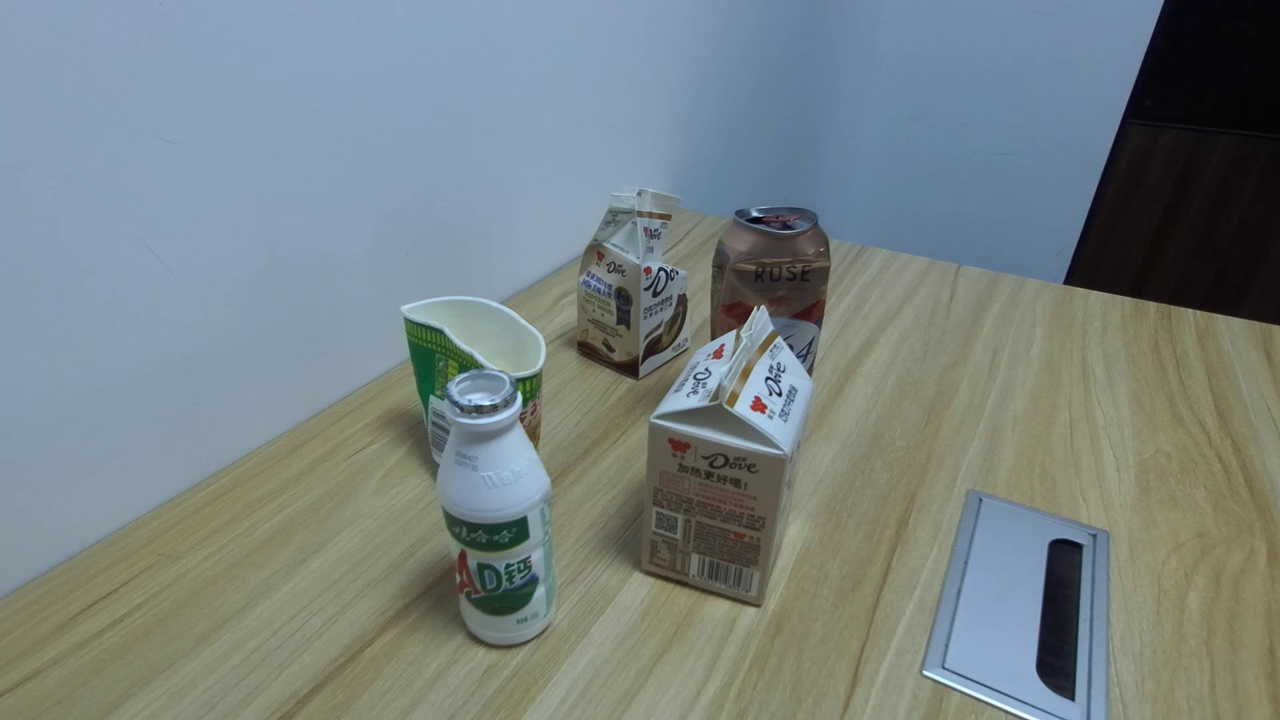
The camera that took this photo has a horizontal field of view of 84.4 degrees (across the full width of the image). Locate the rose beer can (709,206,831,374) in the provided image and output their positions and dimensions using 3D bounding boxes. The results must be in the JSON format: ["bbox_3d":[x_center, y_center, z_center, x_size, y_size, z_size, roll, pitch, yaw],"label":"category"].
[{"bbox_3d":[0.087,-0.021,0.485,0.075,0.167,0.065,4,30,11],"label":"rose beer can"}]

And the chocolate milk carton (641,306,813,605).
[{"bbox_3d":[0.049,0.048,0.383,0.074,0.148,0.075,13,33,17],"label":"chocolate milk carton"}]

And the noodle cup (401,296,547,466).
[{"bbox_3d":[-0.103,0.027,0.452,0.070,0.111,0.114,-14,35,-19],"label":"noodle cup"}]

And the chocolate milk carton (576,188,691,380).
[{"bbox_3d":[-0.003,-0.072,0.579,0.073,0.155,0.076,25,39,31],"label":"chocolate milk carton"}]

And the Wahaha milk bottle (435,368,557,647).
[{"bbox_3d":[-0.069,0.073,0.345,0.056,0.148,0.056,-1,30,1],"label":"Wahaha milk bottle"}]
